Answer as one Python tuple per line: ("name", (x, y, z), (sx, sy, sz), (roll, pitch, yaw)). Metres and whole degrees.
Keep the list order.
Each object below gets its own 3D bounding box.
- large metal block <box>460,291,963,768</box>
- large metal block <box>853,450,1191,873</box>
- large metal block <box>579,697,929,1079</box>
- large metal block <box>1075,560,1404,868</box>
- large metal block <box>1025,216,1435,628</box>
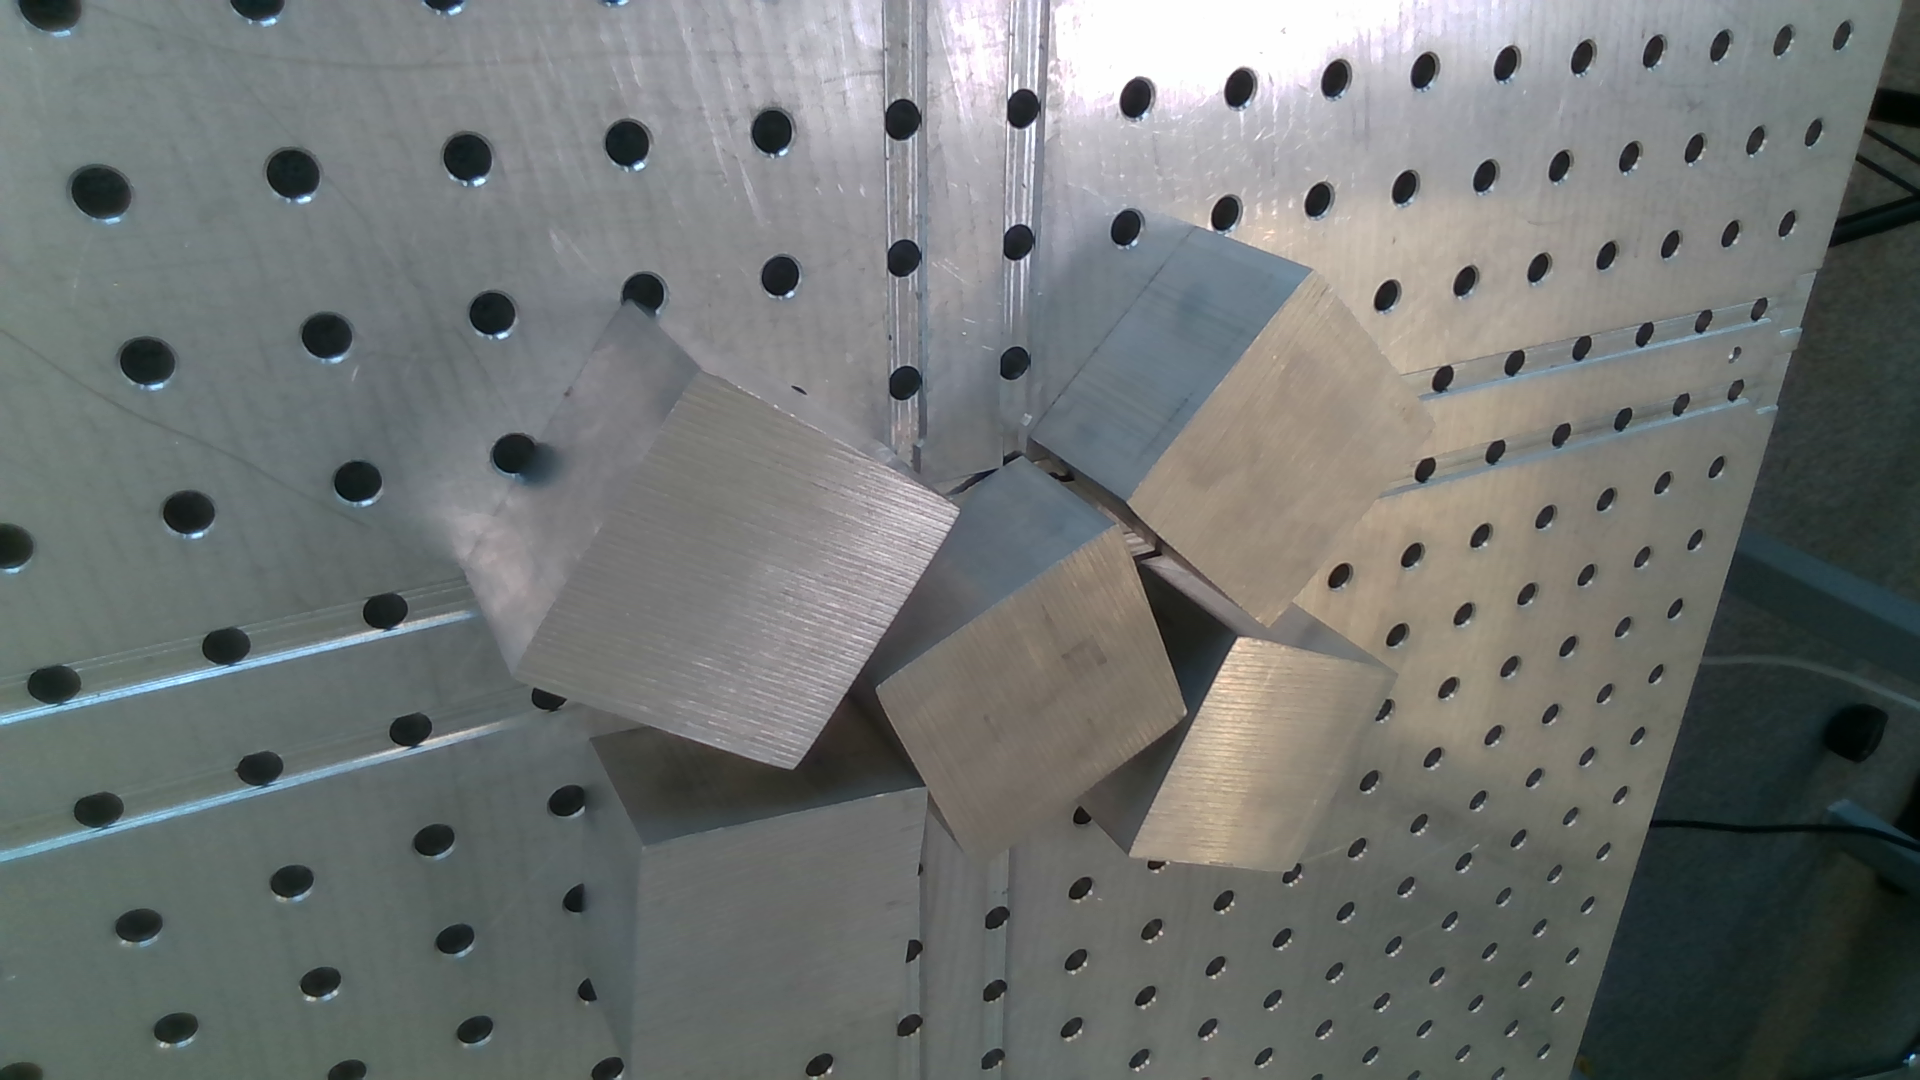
("large metal block", (-0.061, -0.001, 0.336), (0.080, 0.050, 0.080), (27, 98, -39))
("large metal block", (0.012, 0.035, 0.401), (0.080, 0.050, 0.080), (-34, 128, -12))
("large metal block", (-0.061, 0.096, 0.390), (0.080, 0.050, 0.080), (-6, 118, -29))
("large metal block", (0.087, 0.060, 0.461), (0.080, 0.050, 0.080), (13, 110, -36))
("large metal block", (0.081, -0.034, 0.407), (0.080, 0.050, 0.080), (-51, 129, 1))
